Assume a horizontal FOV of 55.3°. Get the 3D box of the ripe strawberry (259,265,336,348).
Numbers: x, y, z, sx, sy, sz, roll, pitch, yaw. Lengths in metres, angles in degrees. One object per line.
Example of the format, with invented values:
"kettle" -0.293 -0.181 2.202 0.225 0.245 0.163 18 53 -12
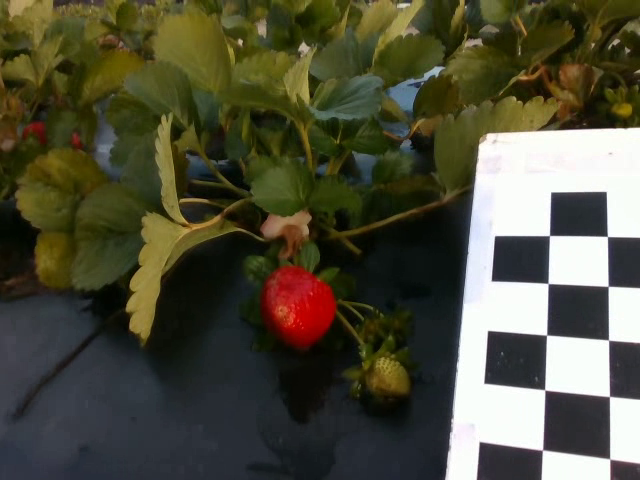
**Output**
"ripe strawberry" -0.014 0.037 0.314 0.043 0.052 0.057 -25 -6 12
